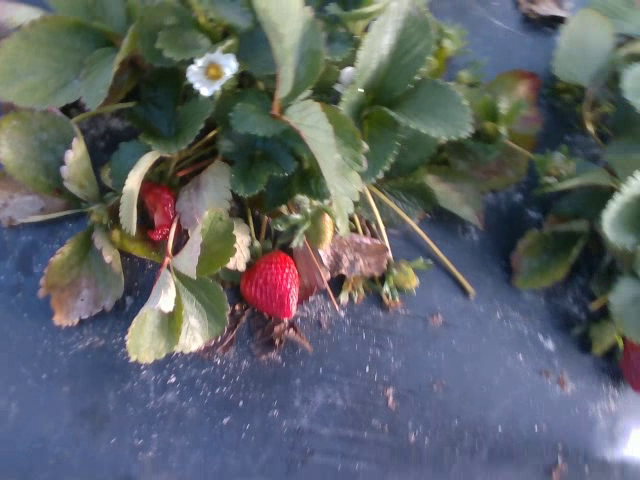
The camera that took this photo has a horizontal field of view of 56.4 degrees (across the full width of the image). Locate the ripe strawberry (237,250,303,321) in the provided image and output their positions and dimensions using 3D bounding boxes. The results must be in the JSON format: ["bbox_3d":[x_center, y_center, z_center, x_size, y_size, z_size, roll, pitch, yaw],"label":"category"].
[{"bbox_3d":[-0.020,0.022,0.249,0.031,0.030,0.026,-27,-18,-6],"label":"ripe strawberry"}]
